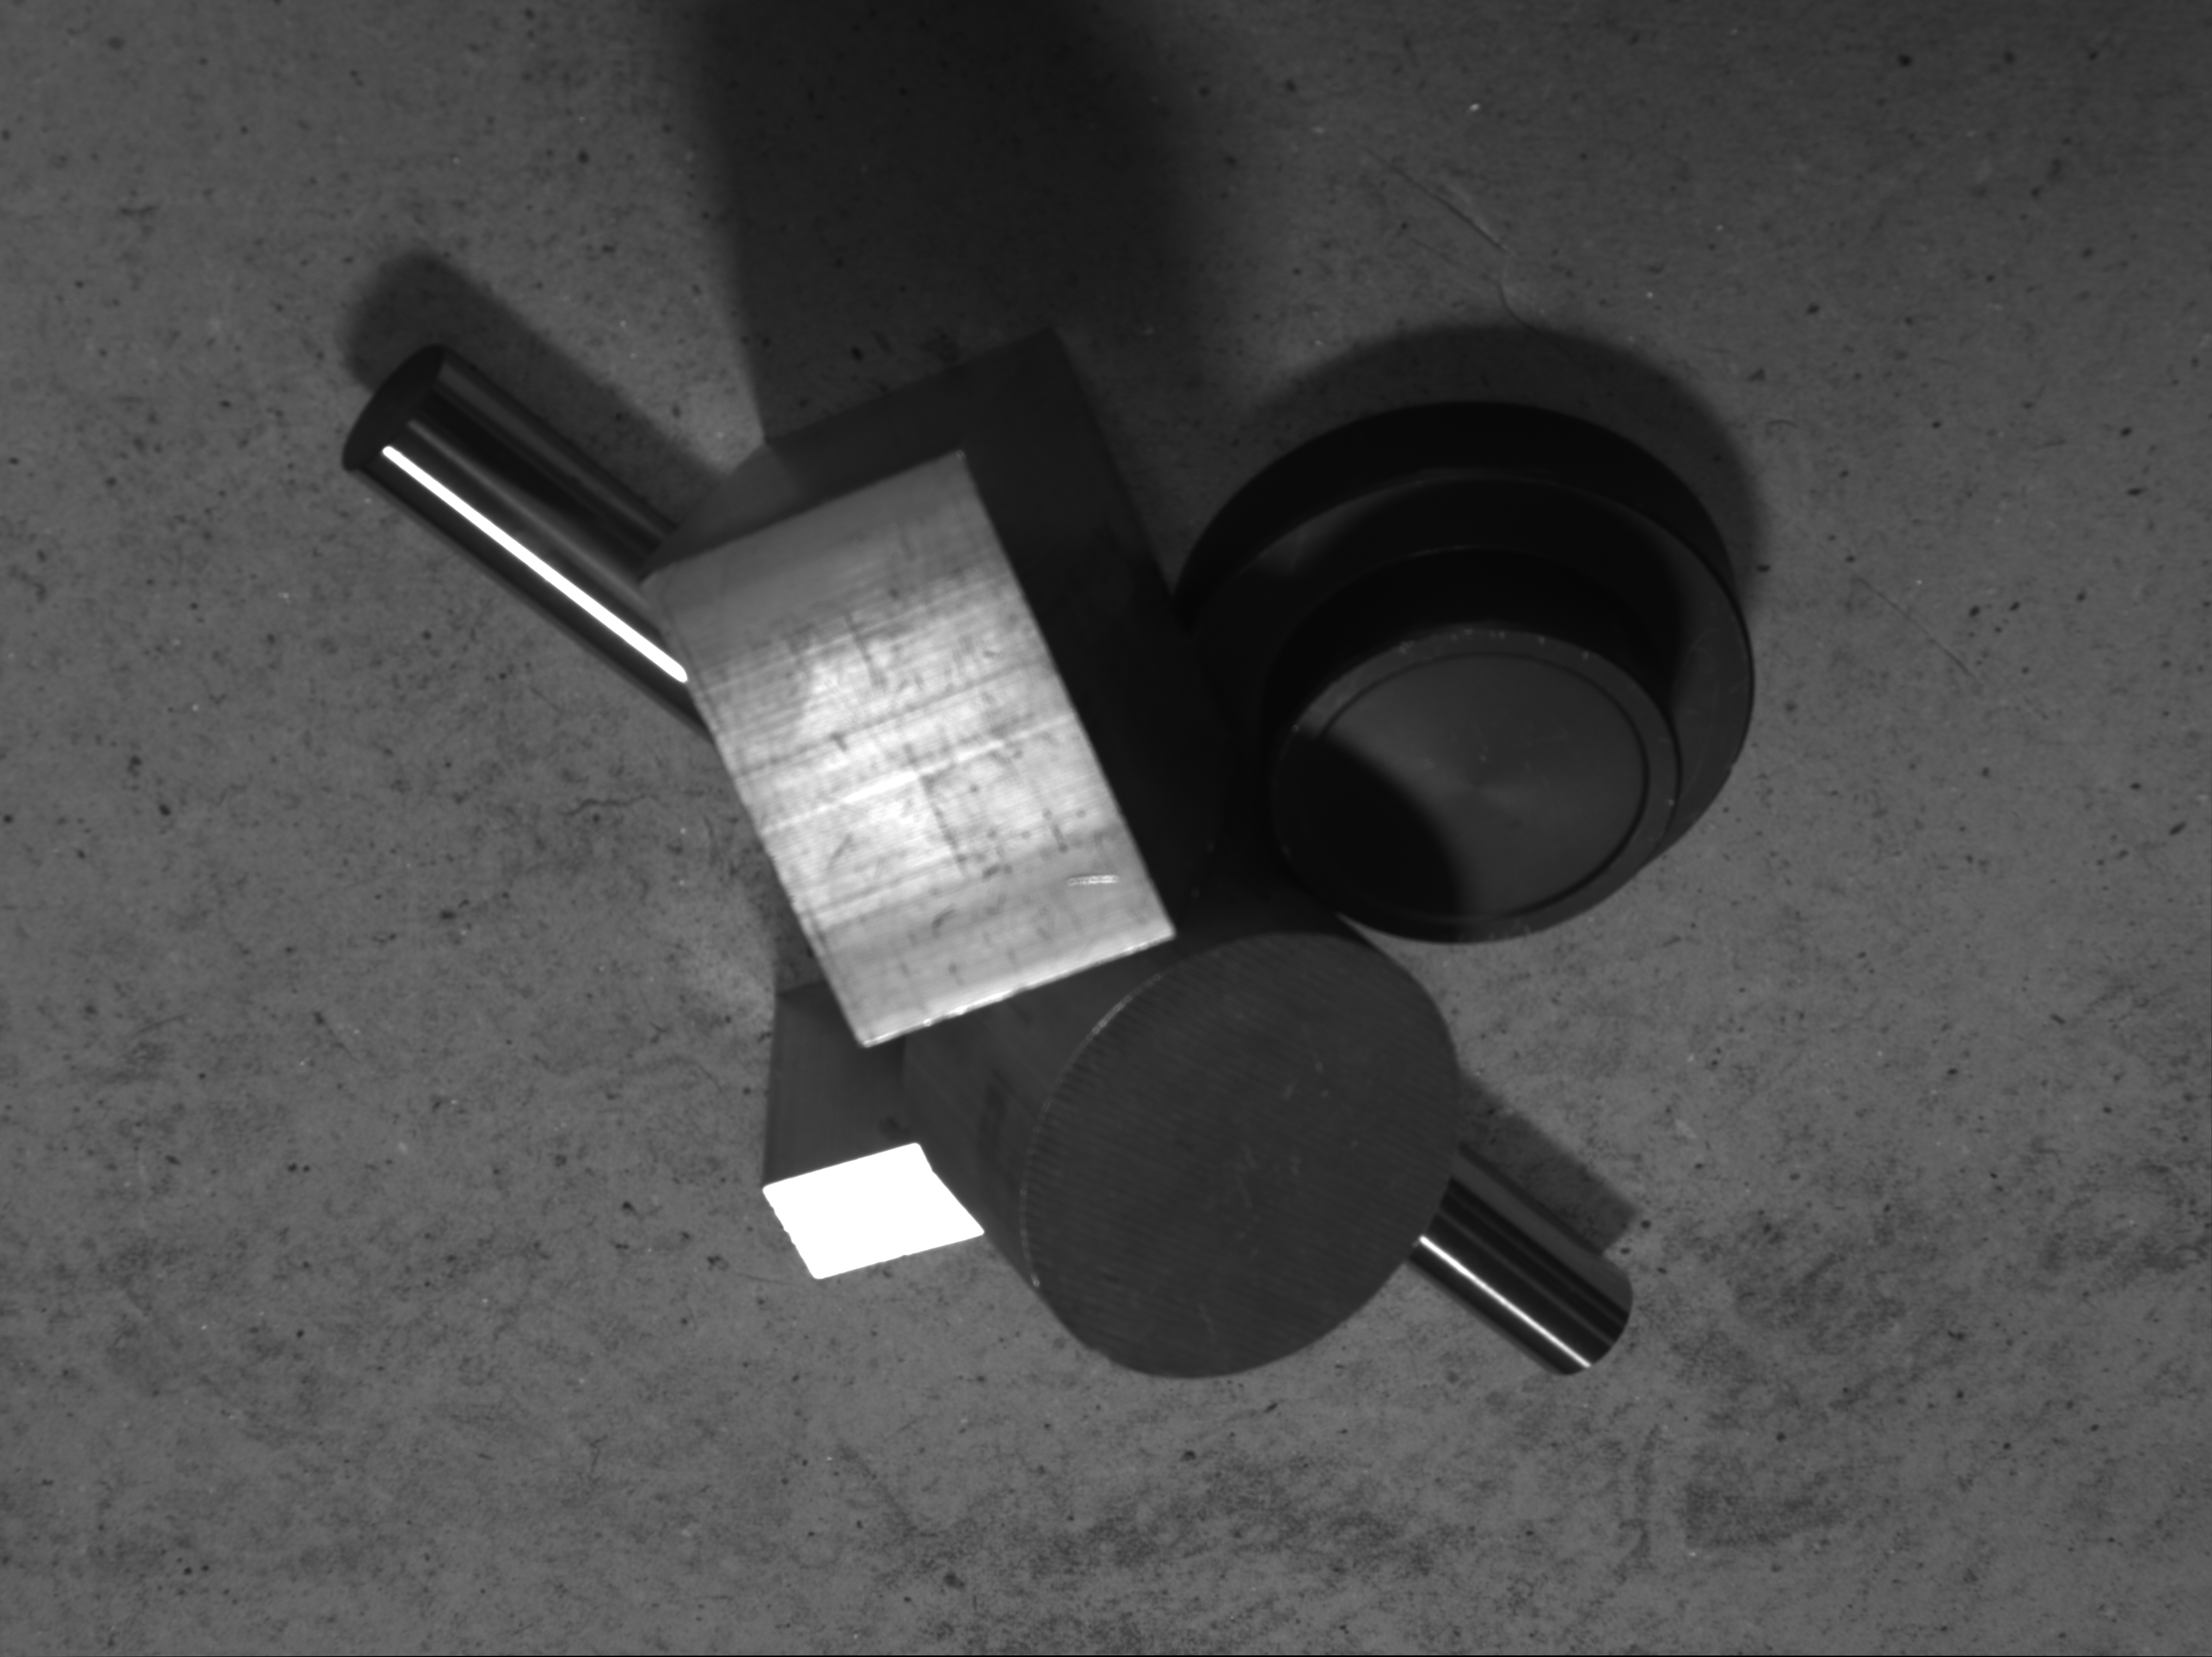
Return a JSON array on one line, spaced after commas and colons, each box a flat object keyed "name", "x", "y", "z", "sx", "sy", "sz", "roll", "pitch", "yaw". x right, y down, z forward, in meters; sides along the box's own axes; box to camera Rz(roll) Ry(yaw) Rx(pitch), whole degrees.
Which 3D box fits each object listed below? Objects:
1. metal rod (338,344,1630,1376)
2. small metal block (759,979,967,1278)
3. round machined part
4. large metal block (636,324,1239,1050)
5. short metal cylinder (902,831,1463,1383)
[{"name": "metal rod", "x": -0.010, "y": 0.015, "z": 0.651, "sx": 0.025, "sy": 0.025, "sz": 0.301, "roll": -37, "pitch": 122, "yaw": 25}, {"name": "small metal block", "x": -0.033, "y": 0.049, "z": 0.663, "sx": 0.050, "sy": 0.050, "sz": 0.025, "roll": -17, "pitch": 128, "yaw": 11}, {"name": "round machined part", "x": 0.060, "y": -0.019, "z": 0.613, "sx": 0.098, "sy": 0.042, "sz": 0.098, "roll": -1, "pitch": 130, "yaw": -1}, {"name": "large metal block", "x": -0.023, "y": -0.024, "z": 0.568, "sx": 0.050, "sy": 0.080, "sz": 0.080, "roll": -20, "pitch": 106, "yaw": 16}, {"name": "short metal cylinder", "x": 0.012, "y": 0.045, "z": 0.612, "sx": 0.080, "sy": 0.050, "sz": 0.080, "roll": -10, "pitch": 115, "yaw": -22}]
